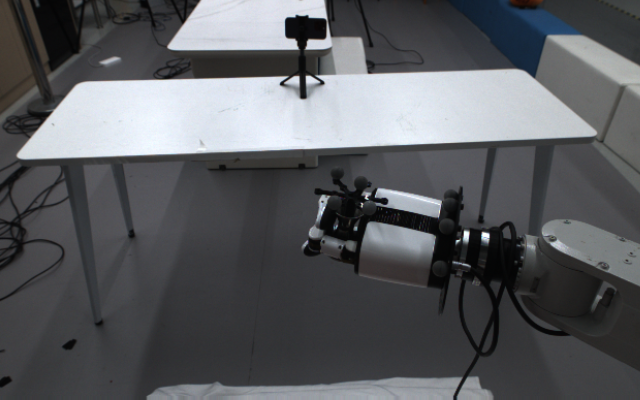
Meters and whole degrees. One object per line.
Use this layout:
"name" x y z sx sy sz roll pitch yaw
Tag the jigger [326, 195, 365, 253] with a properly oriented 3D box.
"jigger" 0.033 0.039 0.613 0.043 0.071 0.043 7 32 -4
